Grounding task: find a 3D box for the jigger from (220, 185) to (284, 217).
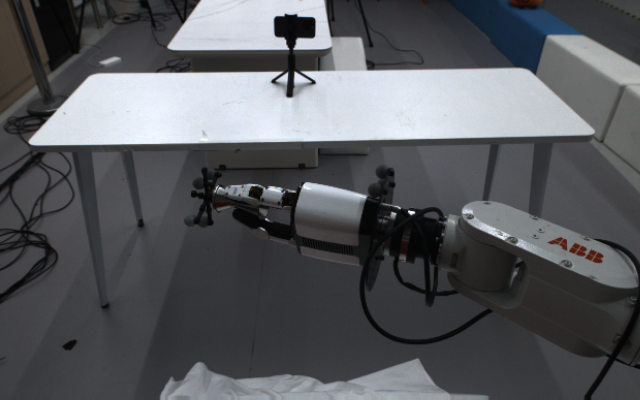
[{"bbox_3d":[-0.102,-0.002,0.662,0.071,0.043,0.043,6,35,13],"label":"jigger"}]
